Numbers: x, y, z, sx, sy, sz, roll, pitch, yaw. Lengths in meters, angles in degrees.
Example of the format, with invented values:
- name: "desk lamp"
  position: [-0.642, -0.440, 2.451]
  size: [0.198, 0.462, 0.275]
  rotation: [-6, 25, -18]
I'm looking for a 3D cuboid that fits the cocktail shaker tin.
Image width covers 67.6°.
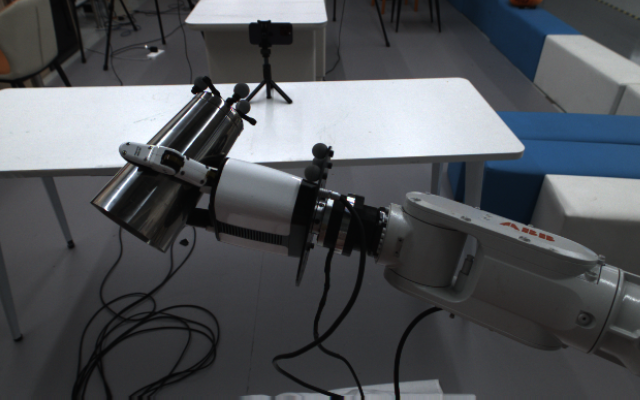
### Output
- name: "cocktail shaker tin"
  position: [-0.160, -0.041, 0.539]
  size: [0.093, 0.093, 0.170]
  rotation: [22, 67, 26]
